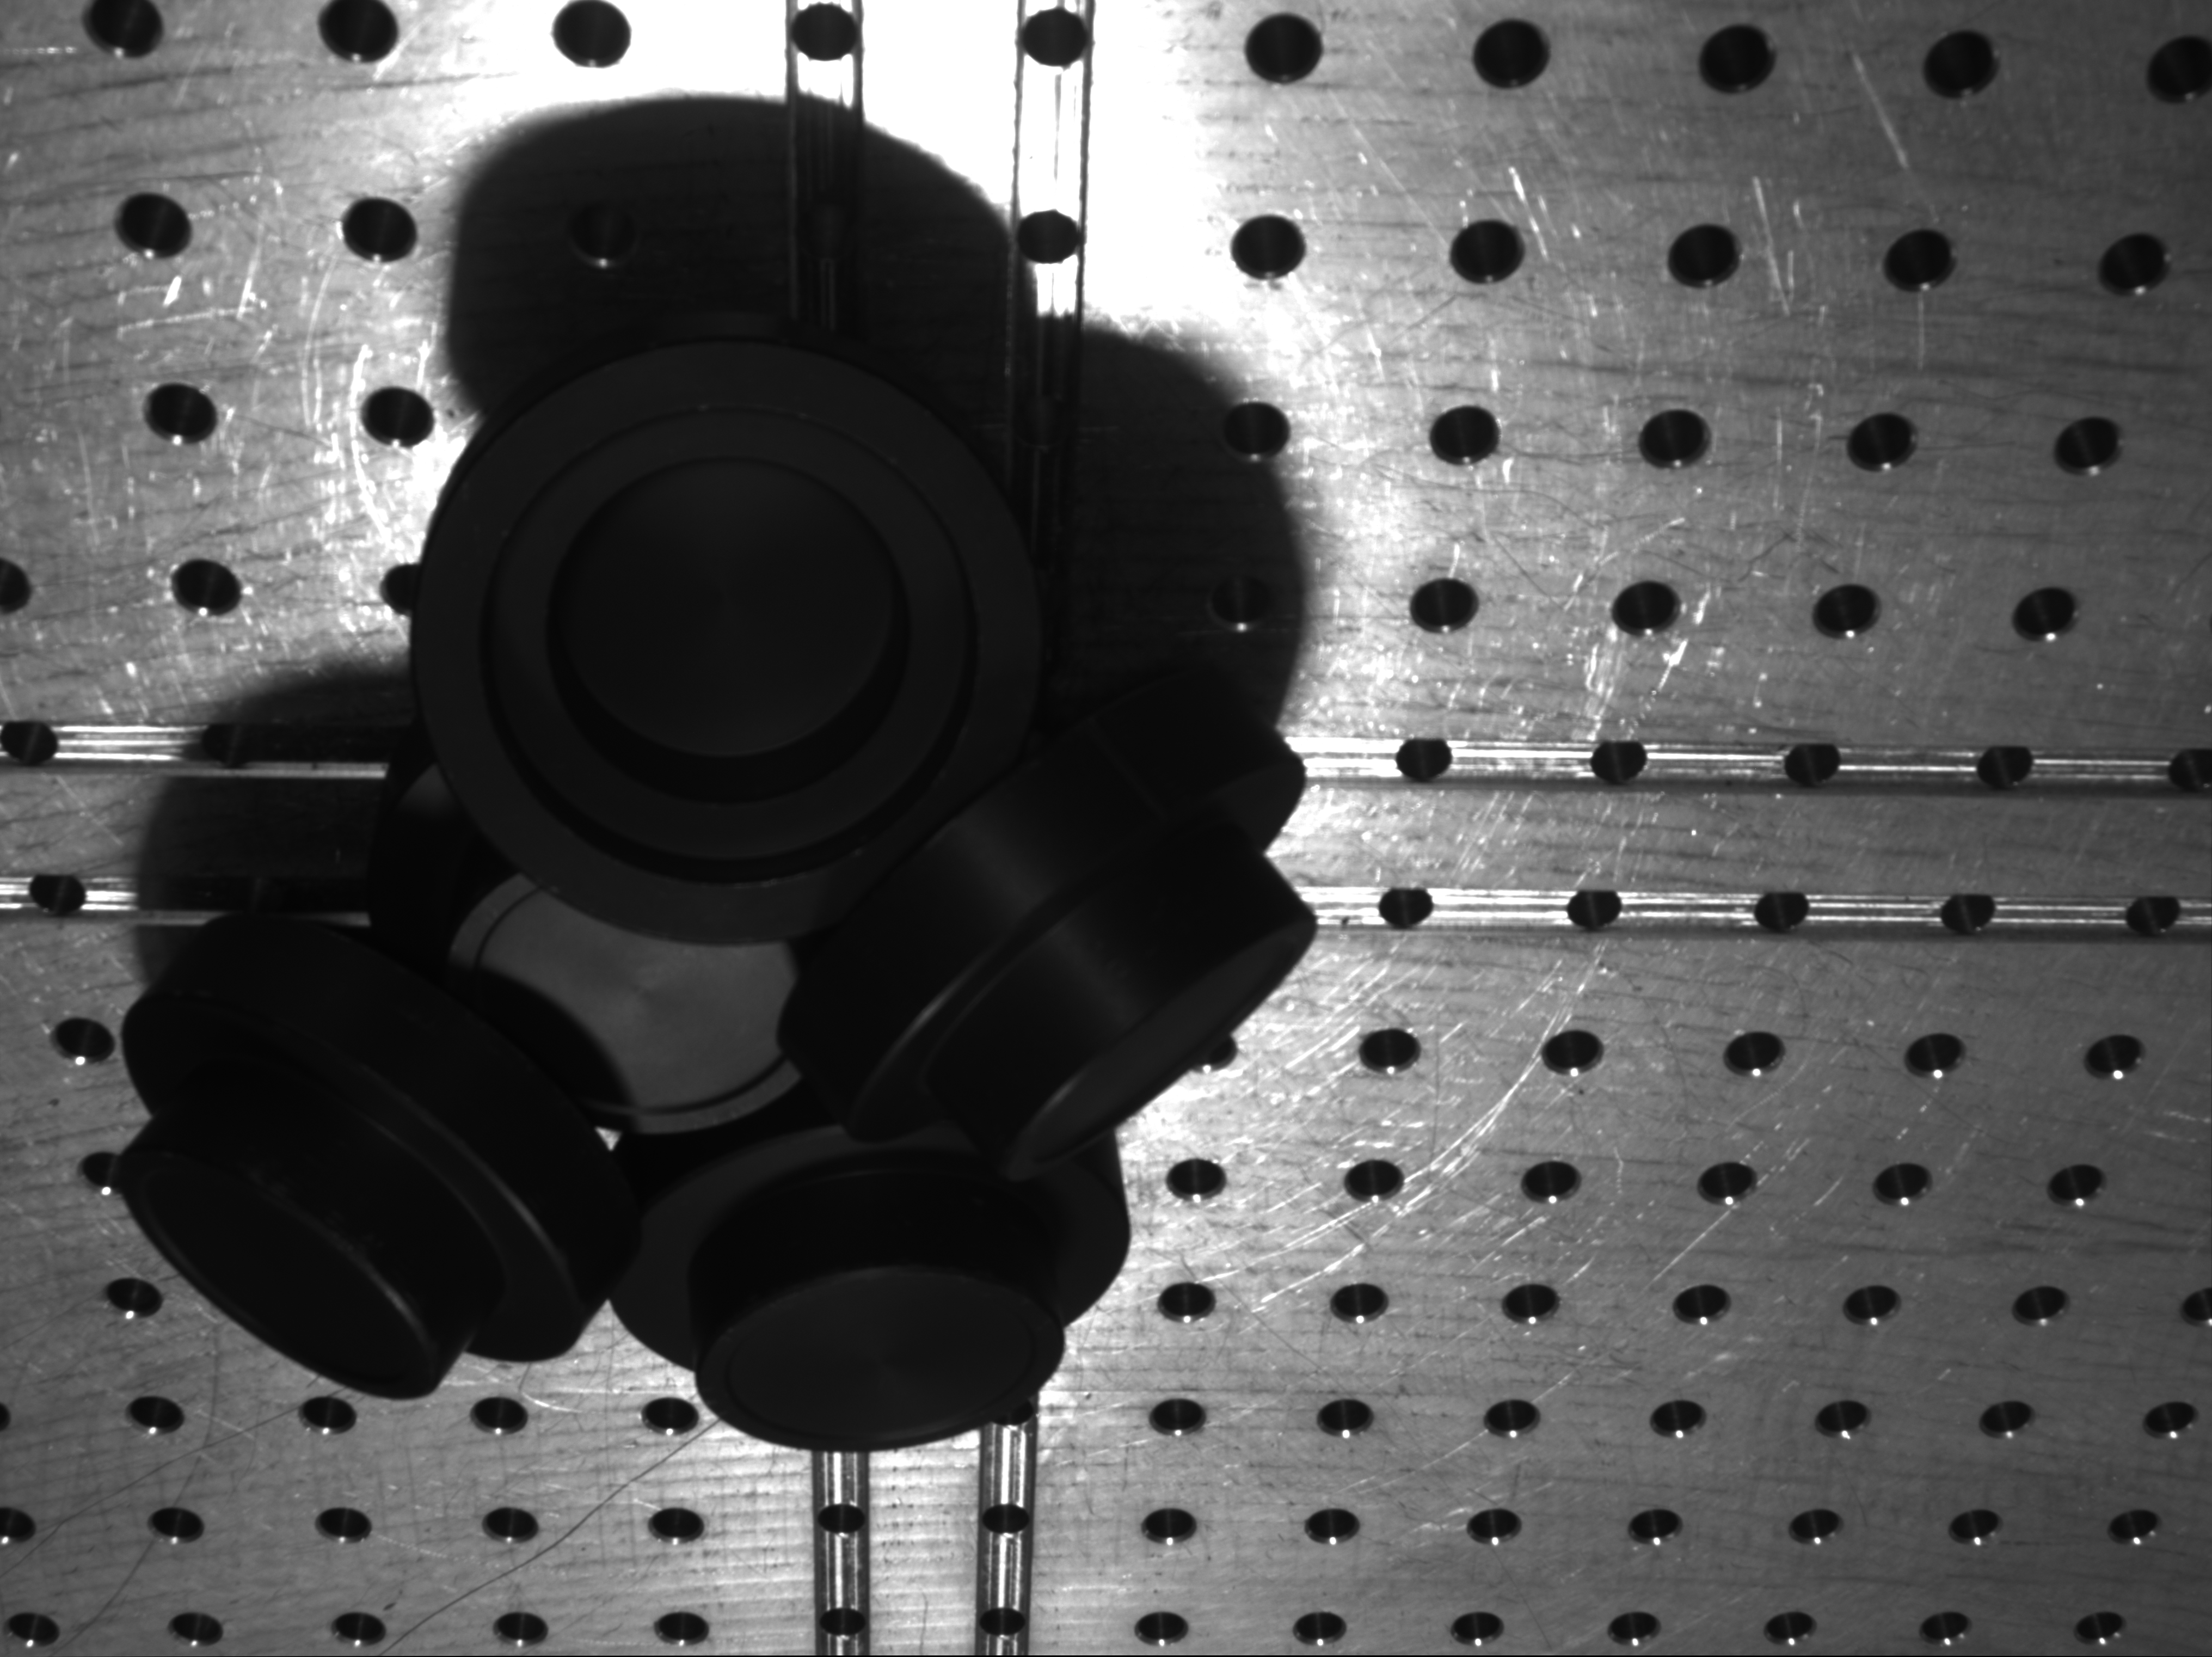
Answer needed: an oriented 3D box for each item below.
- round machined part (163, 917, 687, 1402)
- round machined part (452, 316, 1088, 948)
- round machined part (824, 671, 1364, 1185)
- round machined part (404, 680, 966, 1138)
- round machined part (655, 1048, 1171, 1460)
[{"bbox_3d":[-0.127,0.064,0.649,0.098,0.042,0.098,23,147,17],"label":"round machined part"},{"bbox_3d":[-0.054,-0.034,0.586,0.098,0.042,0.098,-2,109,-6],"label":"round machined part"},{"bbox_3d":[0.004,0.022,0.610,0.042,0.098,0.098,50,122,13],"label":"round machined part"},{"bbox_3d":[-0.073,0.016,0.640,0.098,0.042,0.098,-1,130,-1],"label":"round machined part"},{"bbox_3d":[-0.036,0.083,0.682,0.098,0.042,0.098,-6,142,-4],"label":"round machined part"}]
